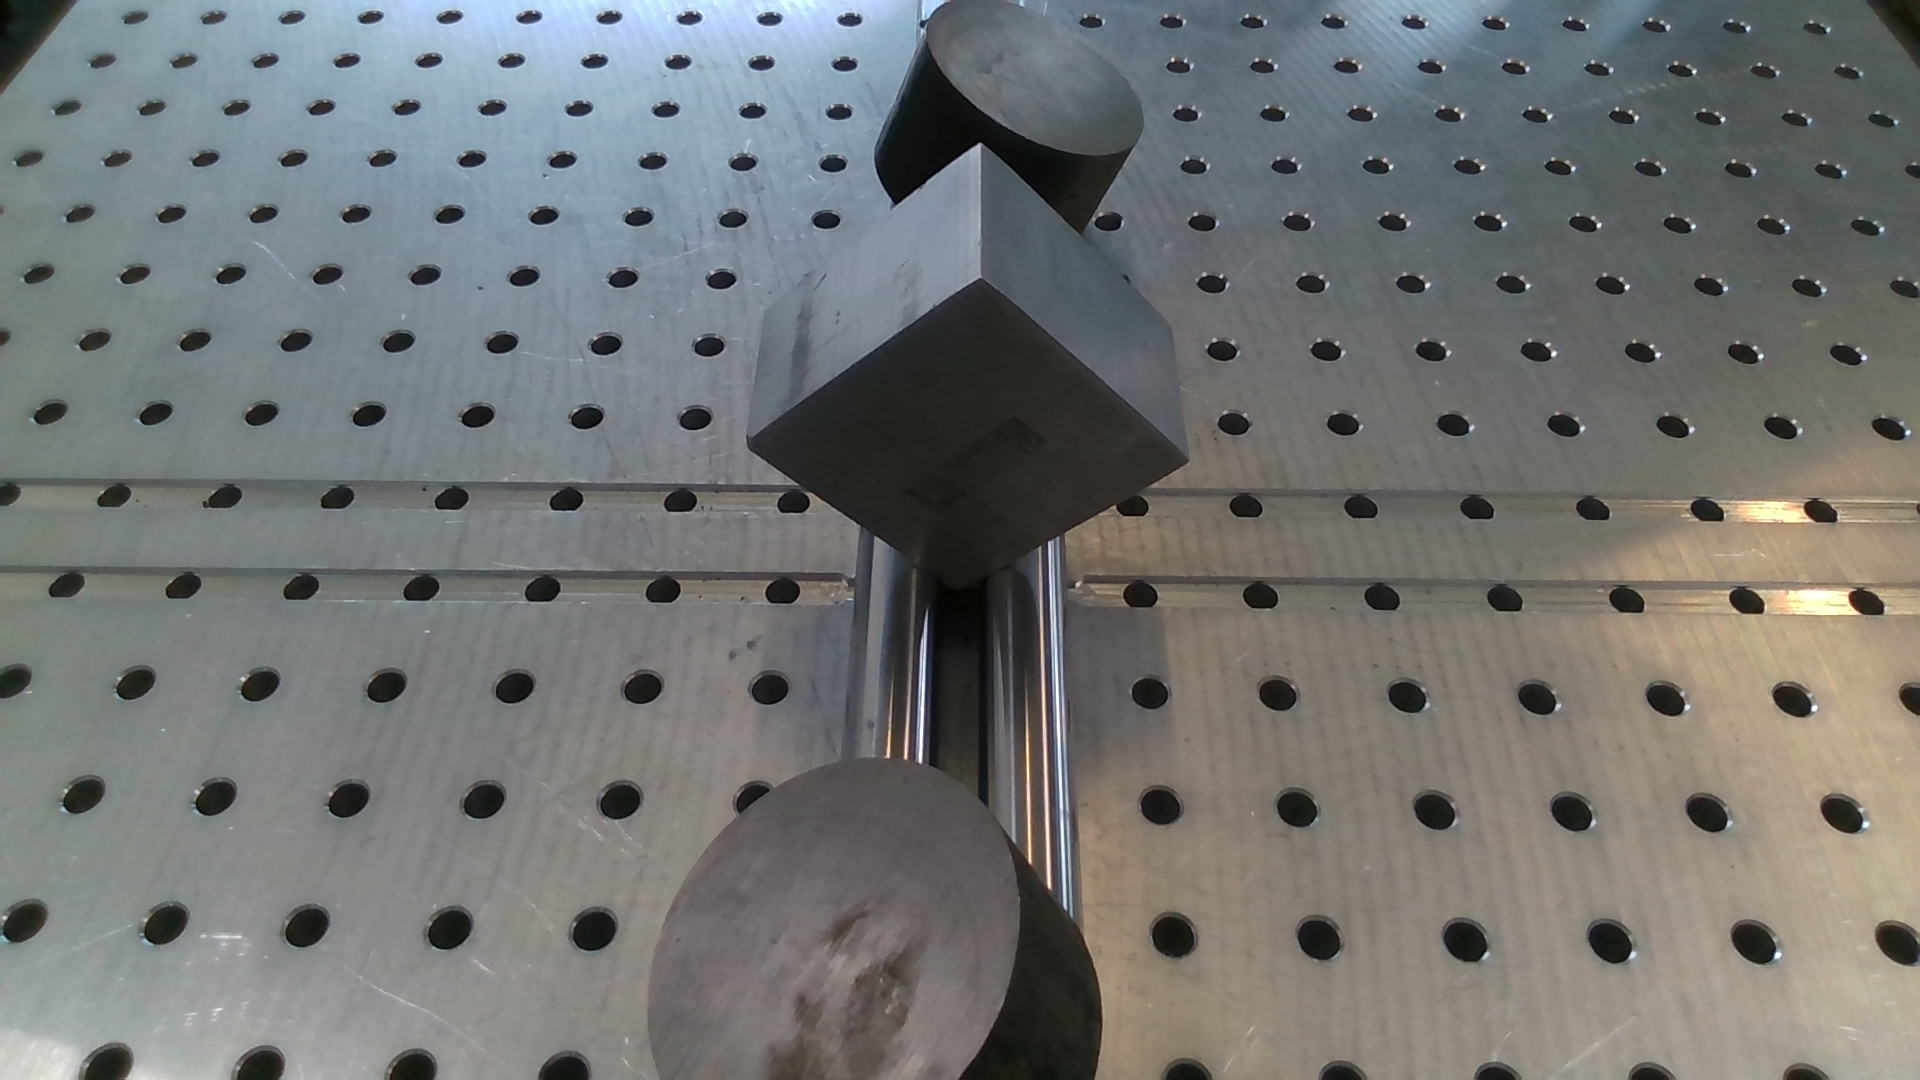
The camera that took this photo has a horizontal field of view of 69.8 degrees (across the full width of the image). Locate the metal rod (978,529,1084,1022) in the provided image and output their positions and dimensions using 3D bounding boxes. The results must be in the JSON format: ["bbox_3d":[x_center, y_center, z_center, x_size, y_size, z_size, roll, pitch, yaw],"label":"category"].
[{"bbox_3d":[0.018,0.021,0.379,0.025,0.025,0.299,0,50,0],"label":"metal rod"}]

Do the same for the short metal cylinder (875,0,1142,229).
[{"bbox_3d":[0.016,-0.142,0.480,0.080,0.050,0.080,15,48,-17],"label":"short metal cylinder"}]

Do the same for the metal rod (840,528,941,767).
[{"bbox_3d":[-0.017,-0.036,0.426,0.025,0.025,0.299,0,50,0],"label":"metal rod"}]

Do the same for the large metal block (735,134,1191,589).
[{"bbox_3d":[0.001,-0.042,0.357,0.080,0.080,0.050,-30,41,31],"label":"large metal block"}]

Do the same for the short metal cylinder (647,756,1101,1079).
[{"bbox_3d":[-0.017,0.093,0.286,0.080,0.050,0.080,-15,47,17],"label":"short metal cylinder"}]
